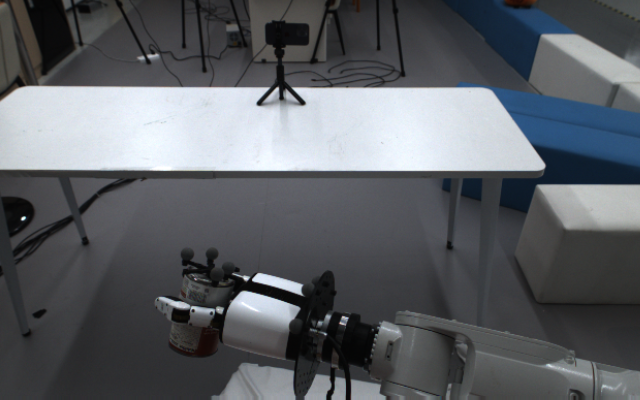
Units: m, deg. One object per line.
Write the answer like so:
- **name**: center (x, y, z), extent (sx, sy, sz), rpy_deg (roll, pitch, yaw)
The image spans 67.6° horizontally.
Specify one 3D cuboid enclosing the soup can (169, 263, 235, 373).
- **soup can**: center (-0.155, 0.147, 0.639), extent (0.067, 0.101, 0.067), rpy_deg (15, 7, -2)
